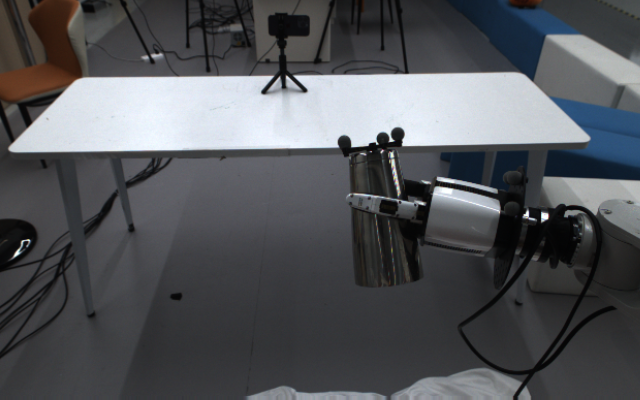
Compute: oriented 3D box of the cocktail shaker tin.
[{"bbox_3d":[0.082,0.022,0.646,0.093,0.170,0.093,-8,1,0],"label":"cocktail shaker tin"}]
